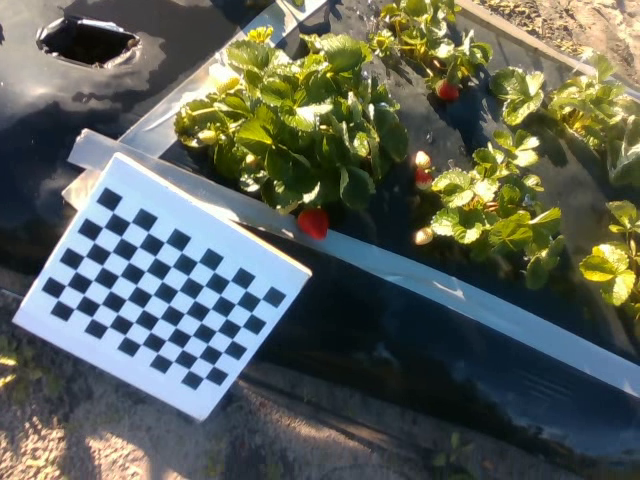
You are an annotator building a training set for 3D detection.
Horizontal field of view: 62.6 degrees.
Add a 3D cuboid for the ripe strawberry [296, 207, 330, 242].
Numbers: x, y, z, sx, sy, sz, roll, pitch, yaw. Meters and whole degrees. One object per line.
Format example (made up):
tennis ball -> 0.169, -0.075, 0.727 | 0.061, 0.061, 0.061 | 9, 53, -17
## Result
ripe strawberry -> -0.009, -0.021, 0.709 | 0.045, 0.064, 0.048 | -30, -47, 10
